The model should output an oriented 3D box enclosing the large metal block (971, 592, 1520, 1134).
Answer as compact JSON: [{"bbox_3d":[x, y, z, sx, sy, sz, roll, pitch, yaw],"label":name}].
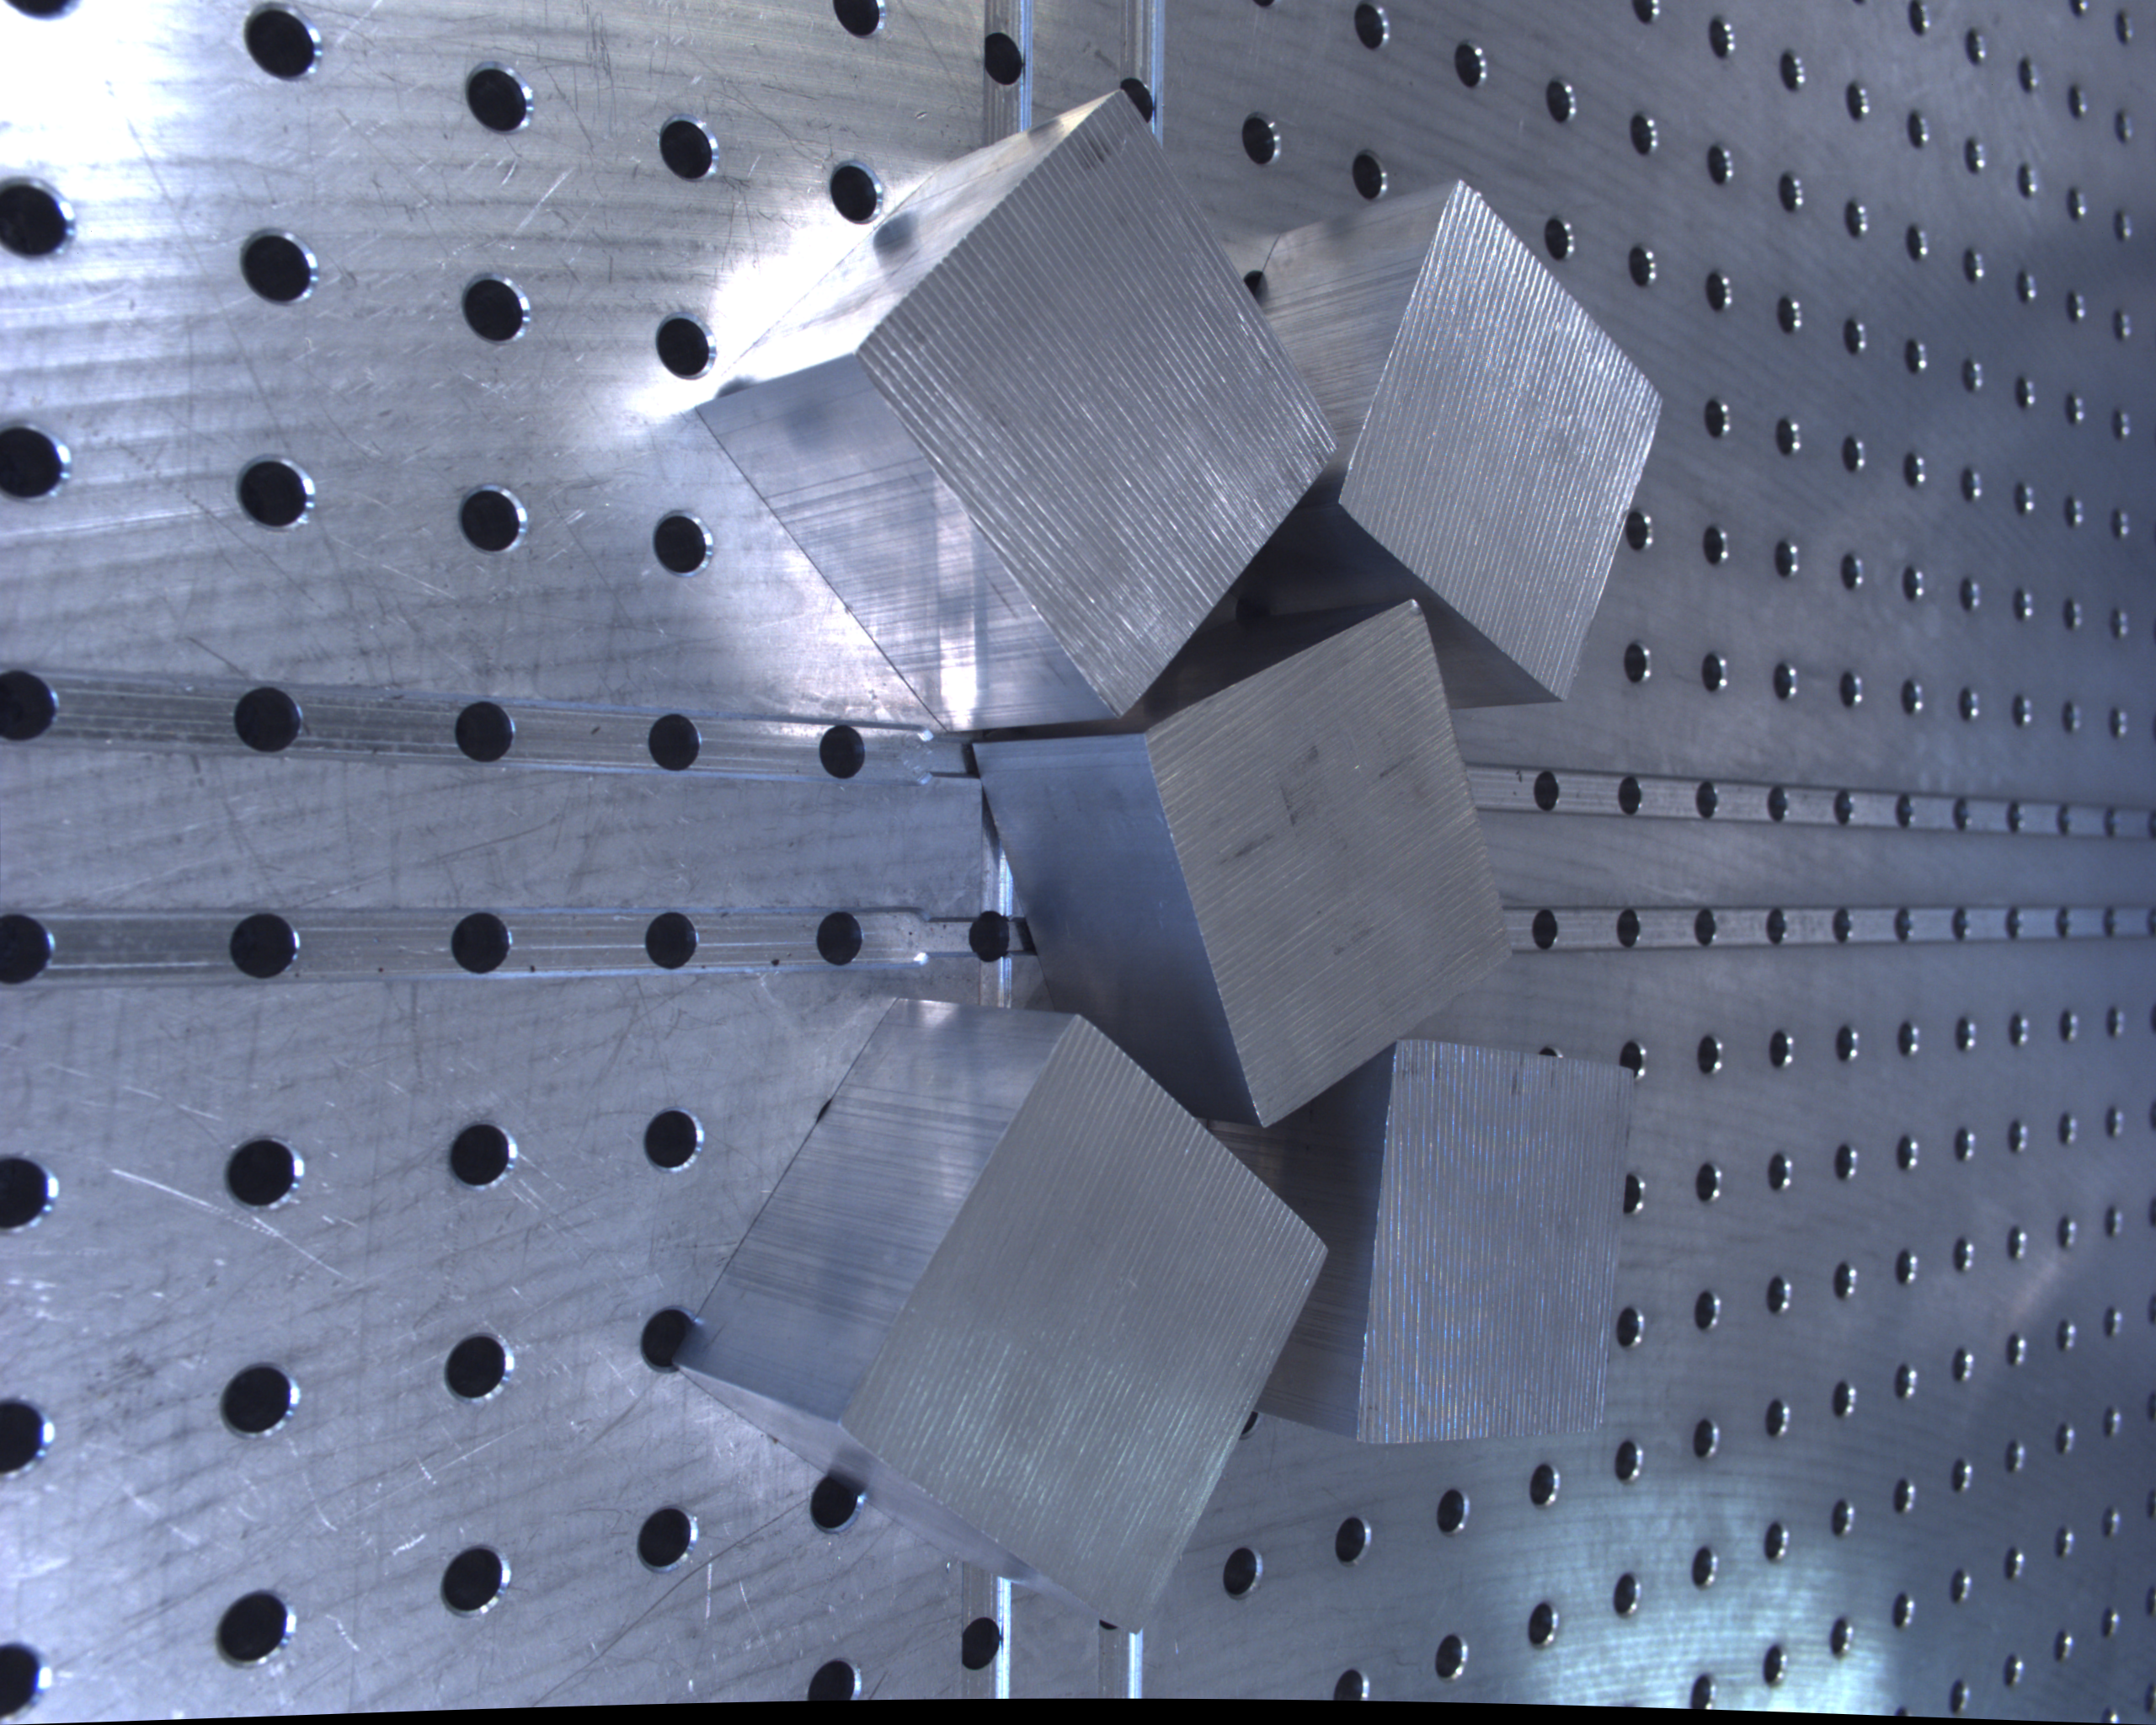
[{"bbox_3d":[0.036,-0.002,0.421,0.081,0.050,0.080,-28,108,-36],"label":"large metal block"}]

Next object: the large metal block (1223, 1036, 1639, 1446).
[{"bbox_3d":[0.073,0.080,0.453,0.081,0.050,0.080,12,83,-40],"label":"large metal block"}]

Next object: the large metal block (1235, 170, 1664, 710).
[{"bbox_3d":[0.075,-0.087,0.453,0.080,0.050,0.080,33,70,-38],"label":"large metal block"}]

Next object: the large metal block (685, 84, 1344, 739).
[{"bbox_3d":[-0.009,-0.080,0.384,0.080,0.050,0.080,-51,120,-27],"label":"large metal block"}]

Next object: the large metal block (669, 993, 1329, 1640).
[{"bbox_3d":[-0.012,0.080,0.380,0.080,0.050,0.080,45,63,-30],"label":"large metal block"}]
